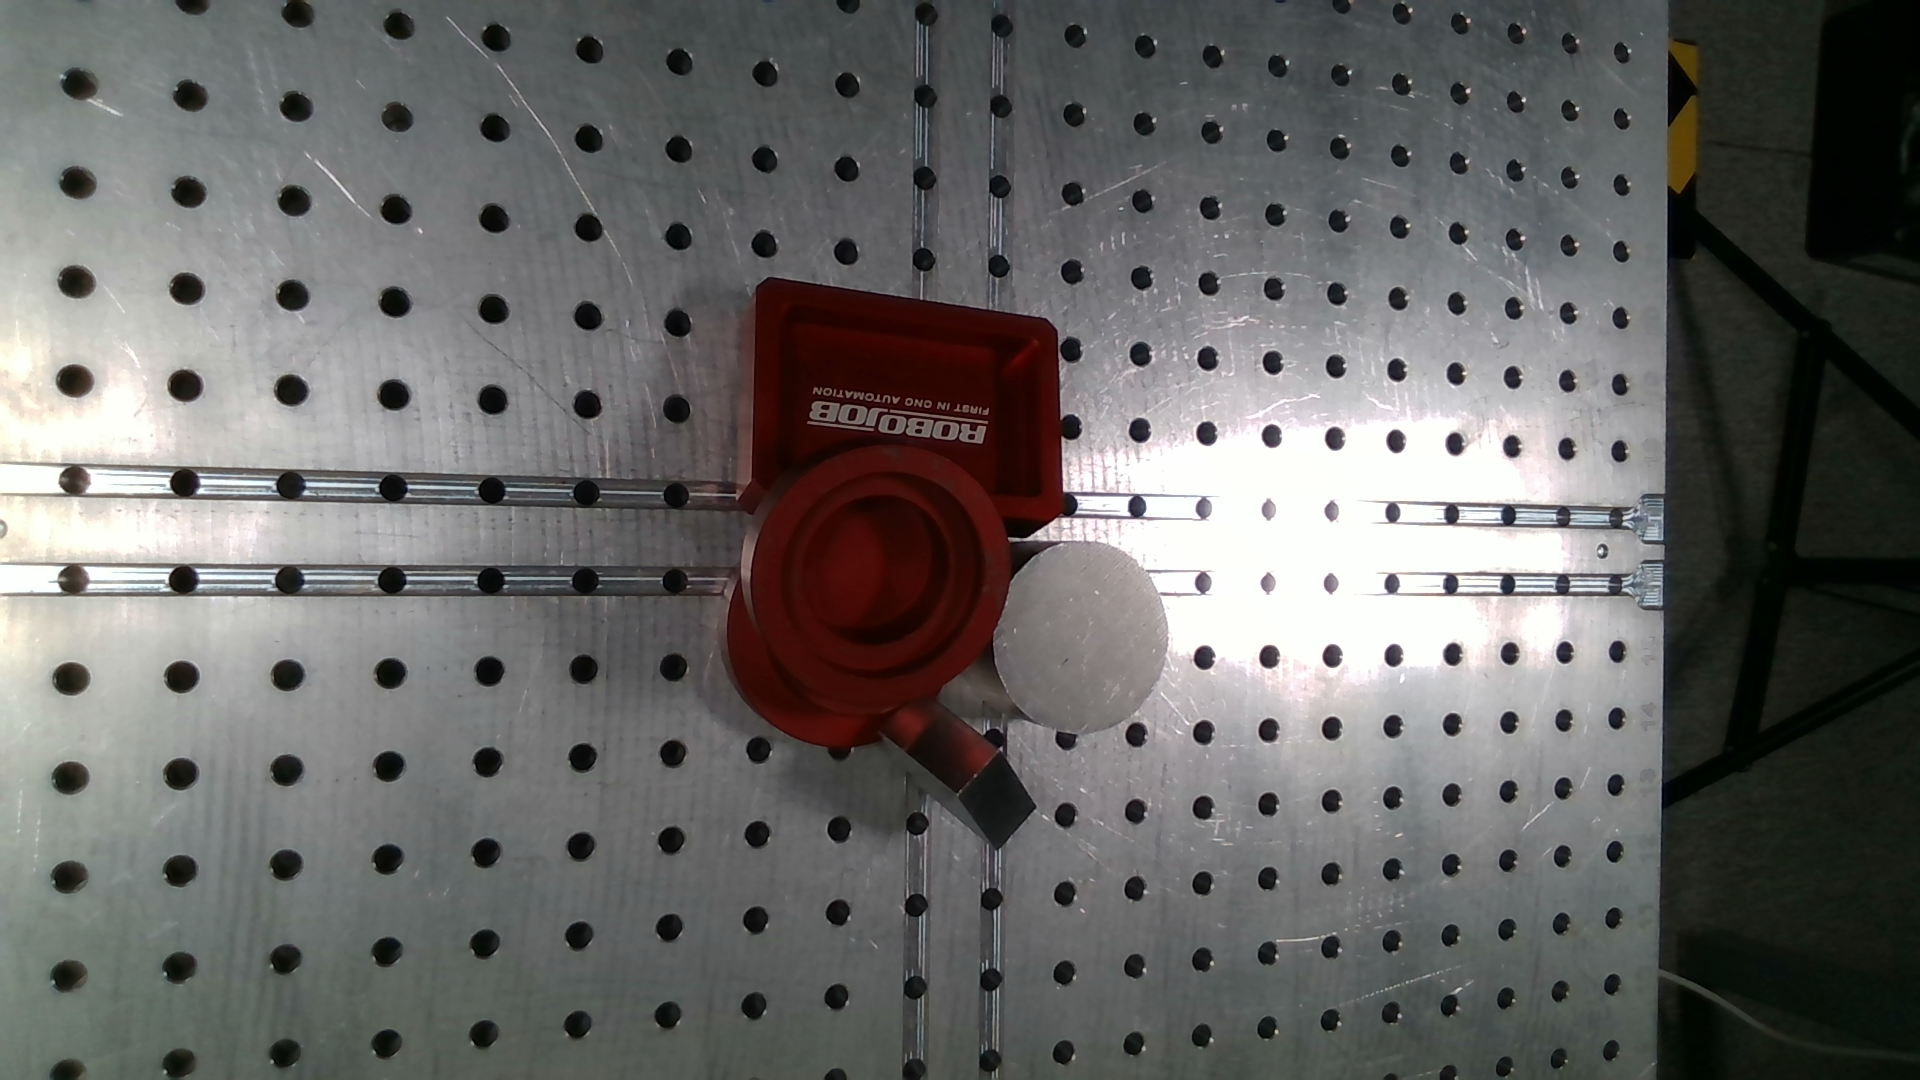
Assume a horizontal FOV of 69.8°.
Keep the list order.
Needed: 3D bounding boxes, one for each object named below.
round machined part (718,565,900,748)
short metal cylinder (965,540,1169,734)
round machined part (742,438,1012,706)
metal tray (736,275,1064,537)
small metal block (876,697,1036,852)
[{"bbox_3d":[-0.046,0.036,0.561,0.098,0.042,0.098,0,90,-20],"label":"round machined part"},{"bbox_3d":[0.042,0.040,0.590,0.080,0.050,0.080,0,90,-20],"label":"short metal cylinder"},{"bbox_3d":[-0.033,0.009,0.516,0.098,0.042,0.098,-4,102,-18],"label":"round machined part"},{"bbox_3d":[-0.024,-0.053,0.565,0.130,0.030,0.090,5,74,-20],"label":"metal tray"},{"bbox_3d":[-0.001,0.094,0.565,0.025,0.050,0.050,-45,139,-15],"label":"small metal block"}]
